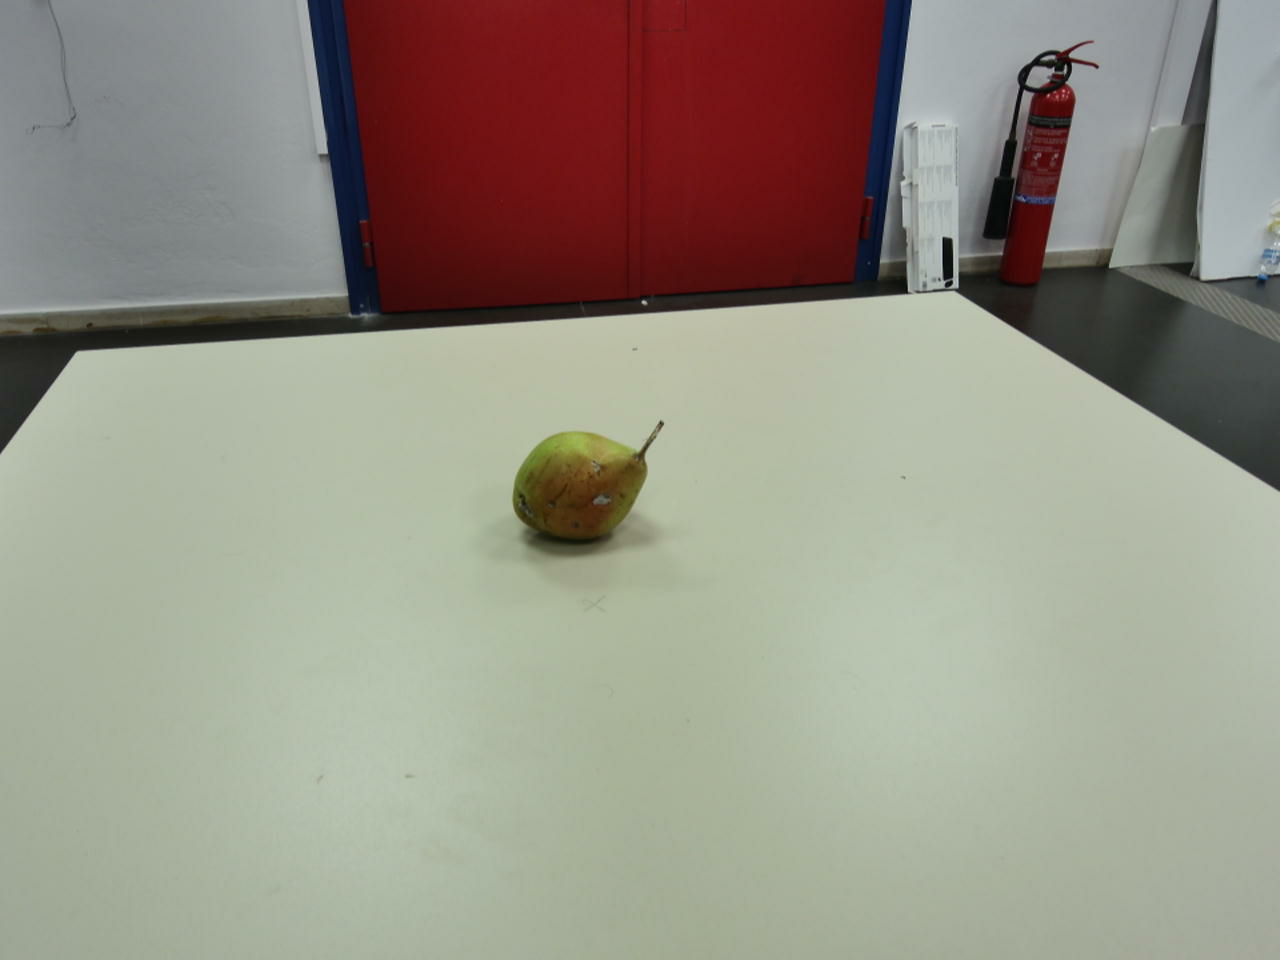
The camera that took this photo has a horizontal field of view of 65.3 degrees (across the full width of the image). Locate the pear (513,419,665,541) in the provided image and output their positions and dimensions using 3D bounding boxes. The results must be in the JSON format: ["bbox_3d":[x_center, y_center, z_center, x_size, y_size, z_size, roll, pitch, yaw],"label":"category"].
[{"bbox_3d":[-0.034,0.000,0.570,0.070,0.069,0.068,19,33,34],"label":"pear"}]
